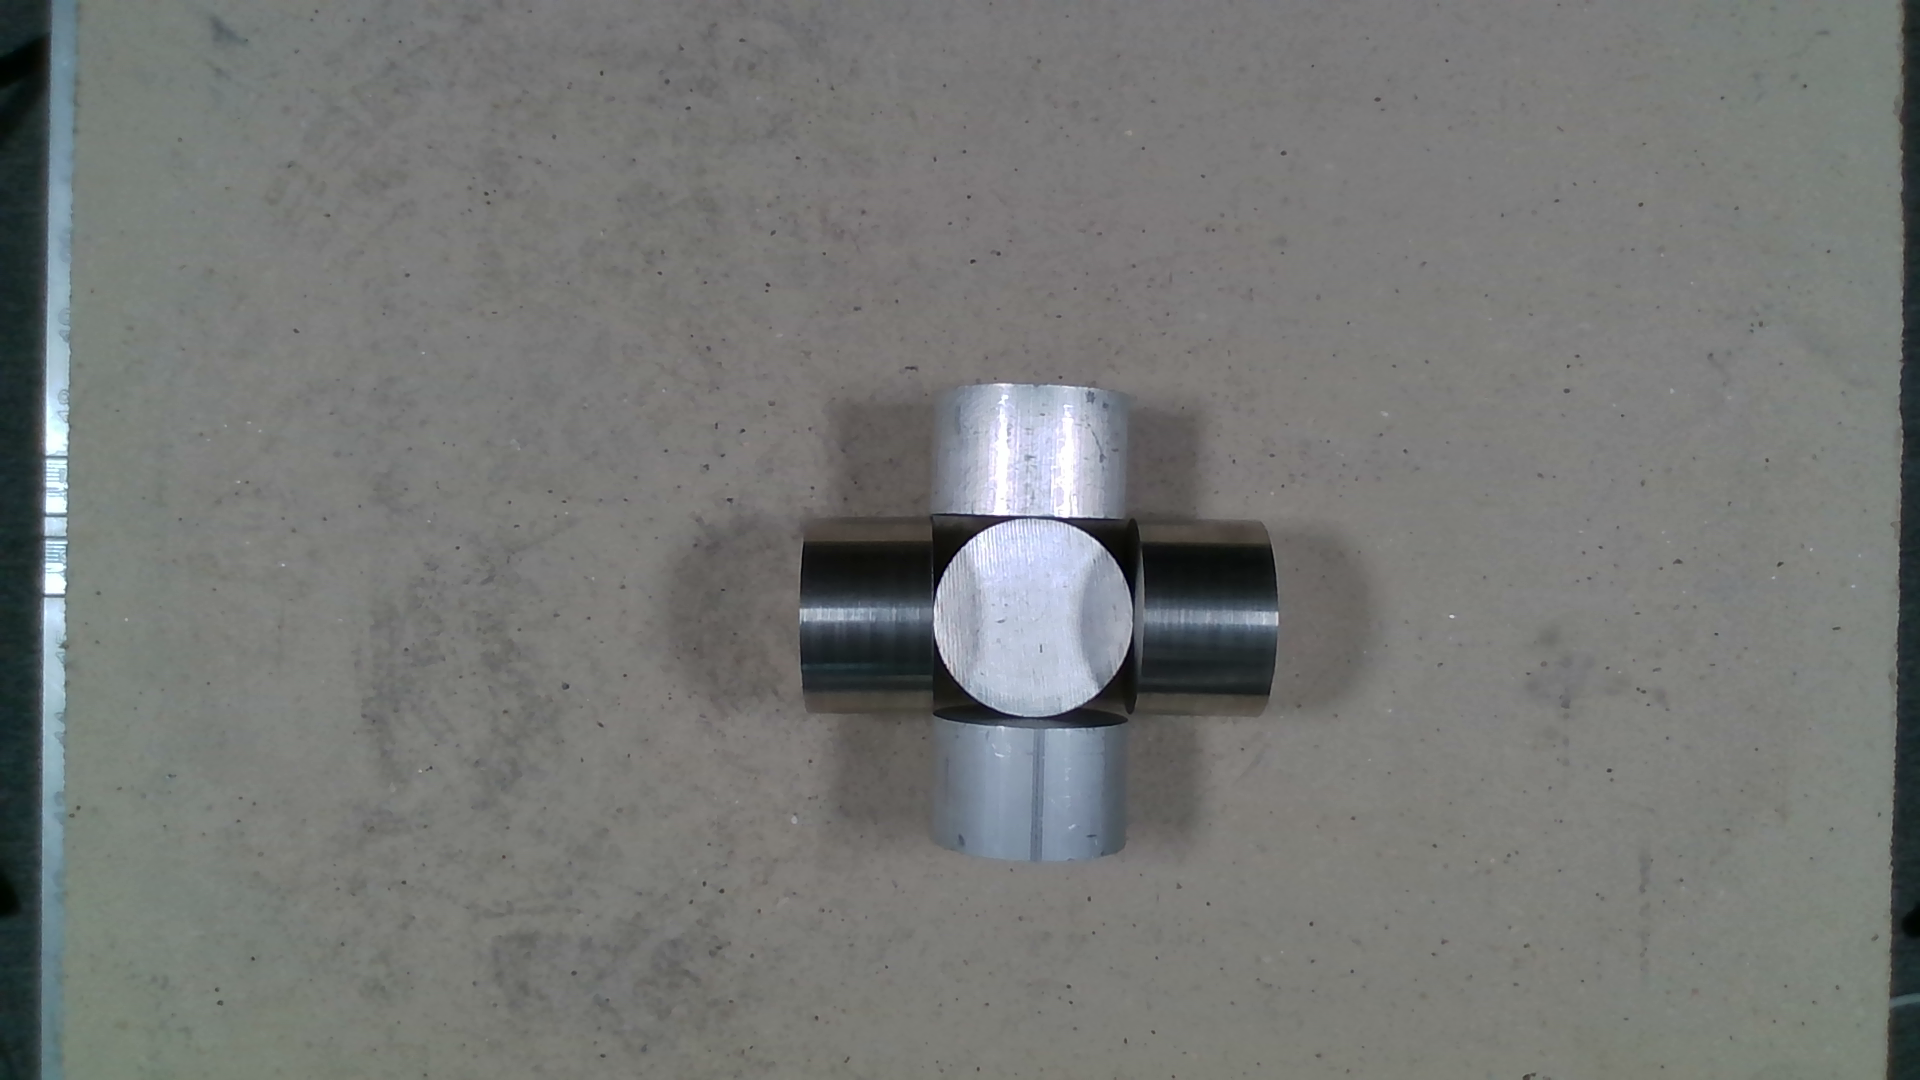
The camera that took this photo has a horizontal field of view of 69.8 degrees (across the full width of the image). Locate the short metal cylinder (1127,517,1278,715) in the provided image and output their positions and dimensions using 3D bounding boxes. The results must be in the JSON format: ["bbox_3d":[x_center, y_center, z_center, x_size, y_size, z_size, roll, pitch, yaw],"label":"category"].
[{"bbox_3d":[0.095,0.031,0.559,0.050,0.080,0.080,1,90,0],"label":"short metal cylinder"}]

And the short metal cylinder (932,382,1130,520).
[{"bbox_3d":[0.028,-0.034,0.560,0.080,0.080,0.050,2,90,0],"label":"short metal cylinder"}]

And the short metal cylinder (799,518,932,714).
[{"bbox_3d":[-0.036,0.030,0.560,0.050,0.080,0.080,0,90,-1],"label":"short metal cylinder"}]

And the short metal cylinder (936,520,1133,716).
[{"bbox_3d":[0.029,0.031,0.575,0.080,0.050,0.080,0,90,0],"label":"short metal cylinder"}]

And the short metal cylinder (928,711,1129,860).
[{"bbox_3d":[0.028,0.096,0.561,0.080,0.080,0.050,2,90,0],"label":"short metal cylinder"}]
